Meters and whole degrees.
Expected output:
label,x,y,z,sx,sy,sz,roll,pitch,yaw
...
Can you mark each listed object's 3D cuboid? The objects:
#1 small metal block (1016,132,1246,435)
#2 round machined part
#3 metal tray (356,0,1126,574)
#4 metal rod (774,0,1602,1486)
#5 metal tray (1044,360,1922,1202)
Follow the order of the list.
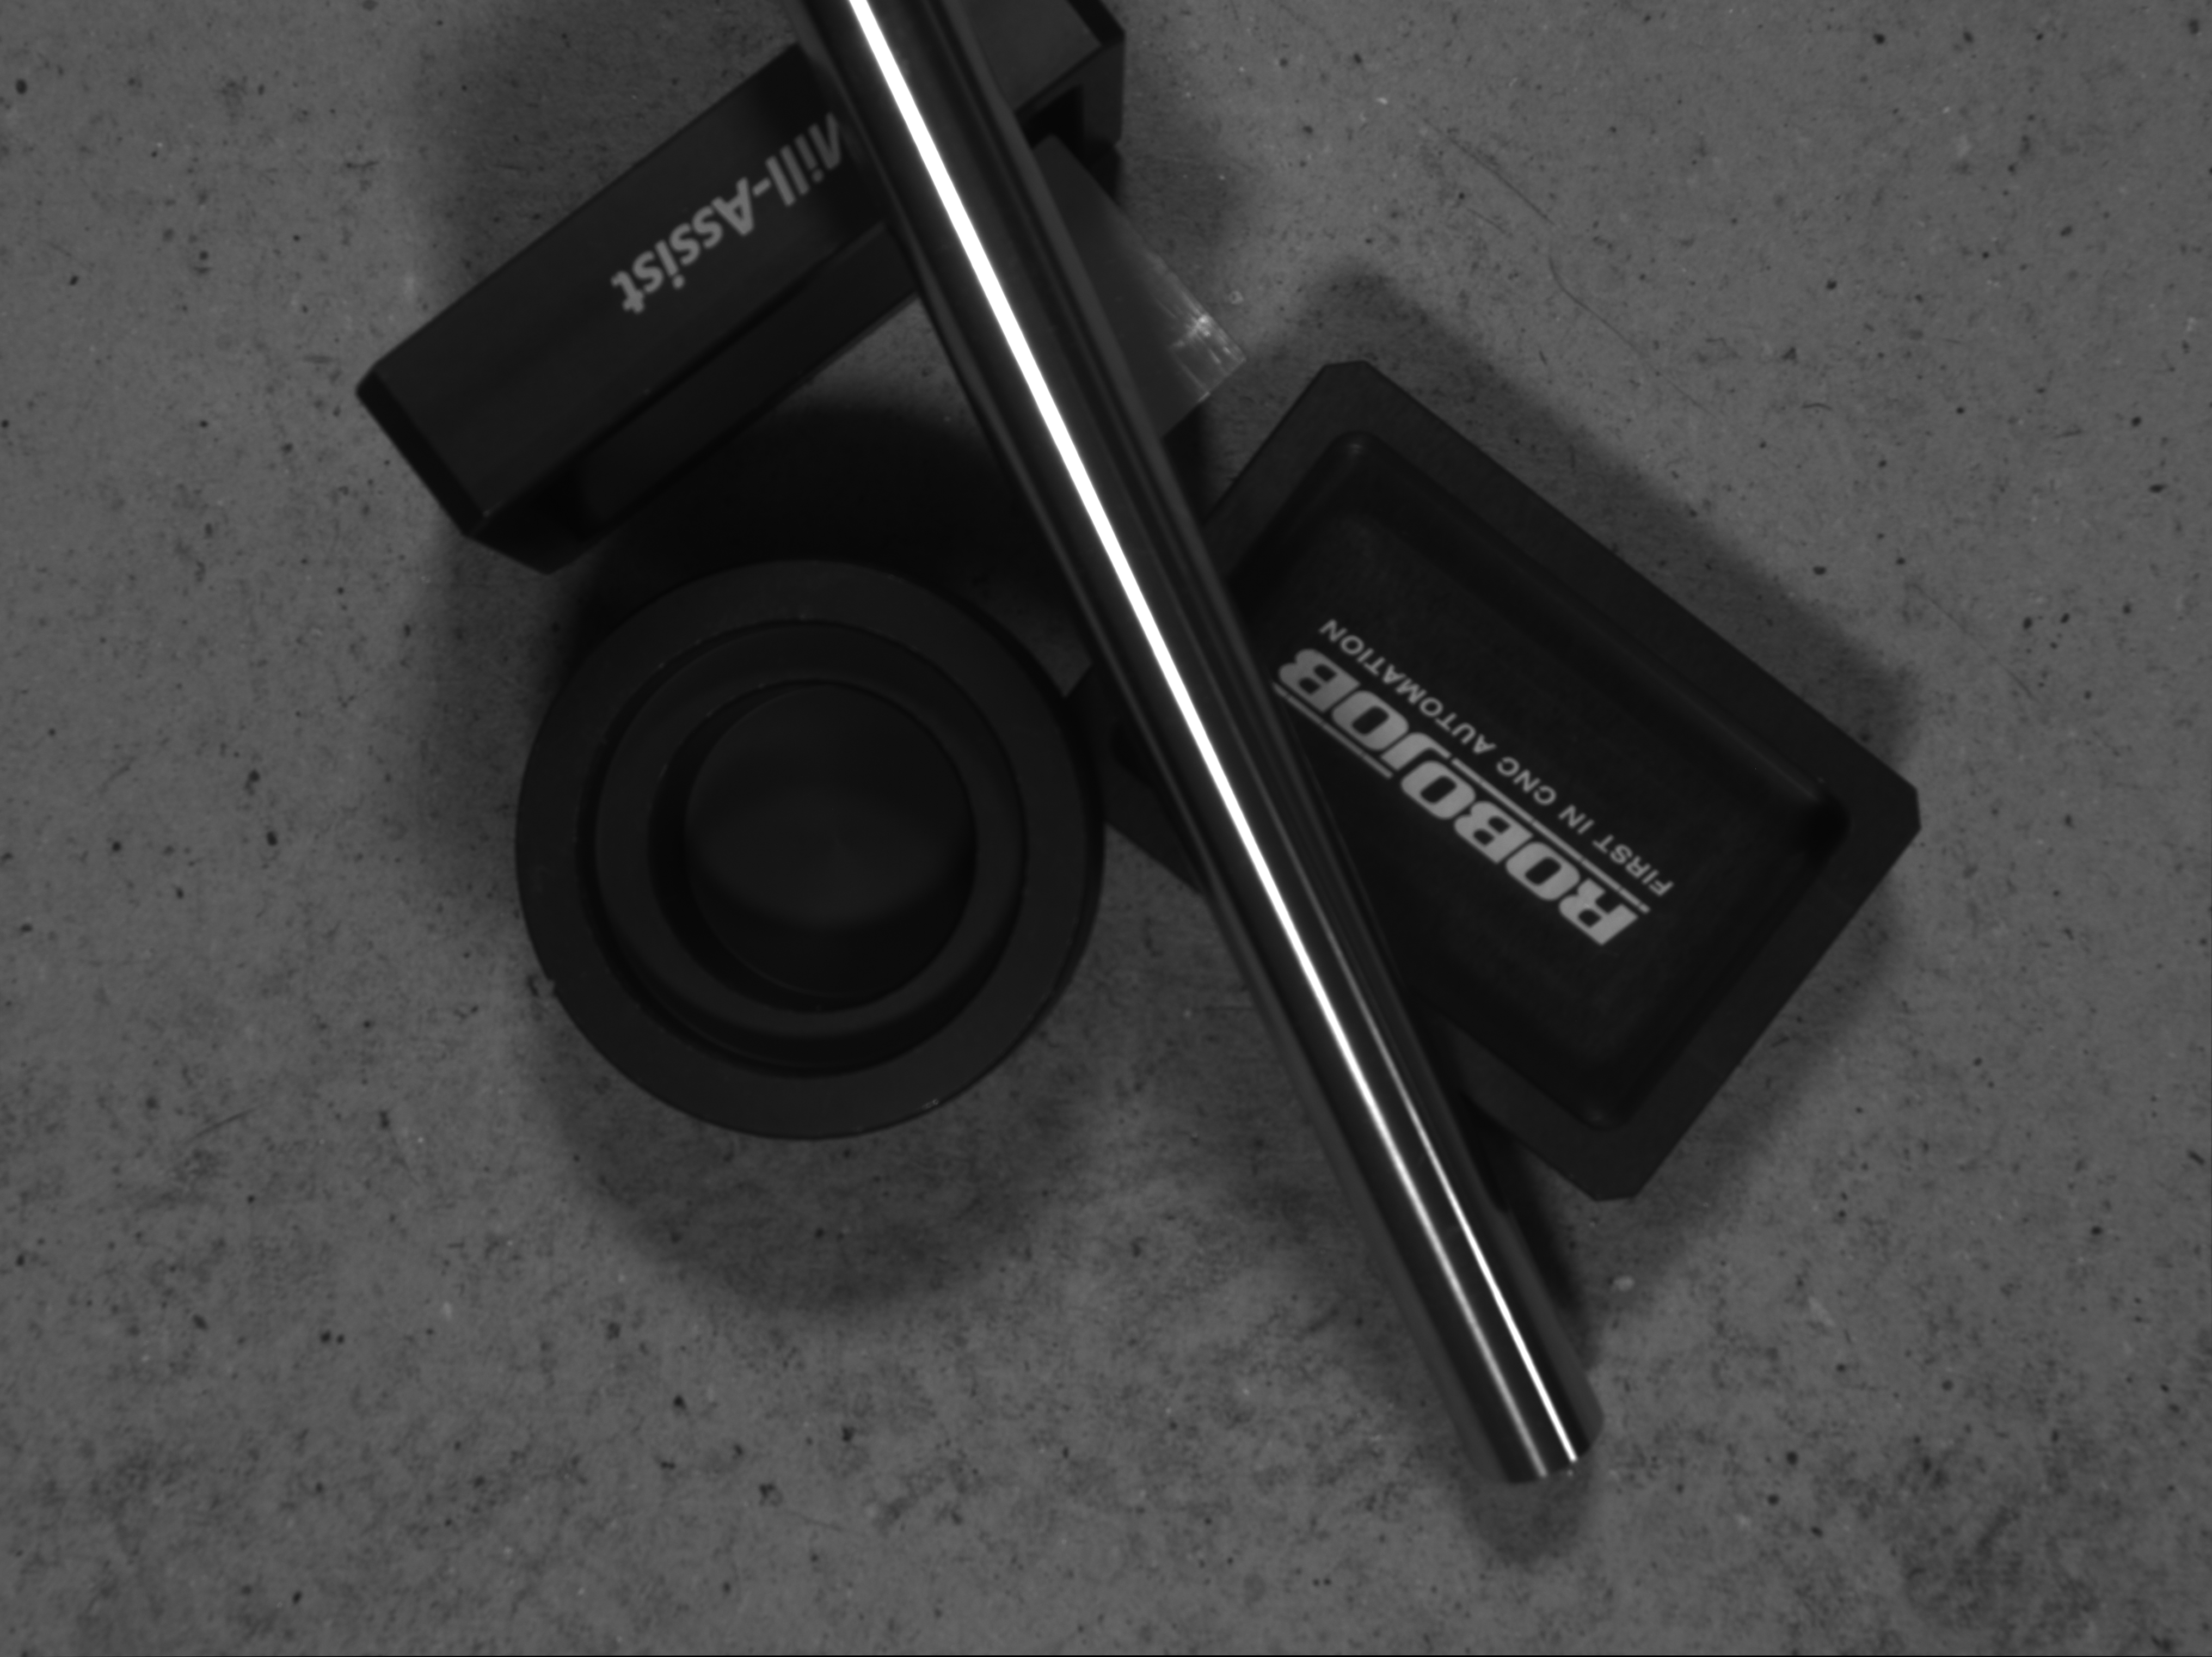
label,x,y,z,sx,sy,sz,roll,pitch,yaw
small metal block,-0.006,-0.093,0.628,0.025,0.050,0.050,-43,104,2
round machined part,-0.049,0.003,0.633,0.098,0.042,0.098,0,93,6
metal tray,-0.057,-0.096,0.612,0.130,0.090,0.030,-38,90,0
metal rod,0.015,-0.017,0.592,0.025,0.025,0.300,-26,112,0
metal tray,0.064,-0.008,0.643,0.130,0.030,0.090,38,90,0
